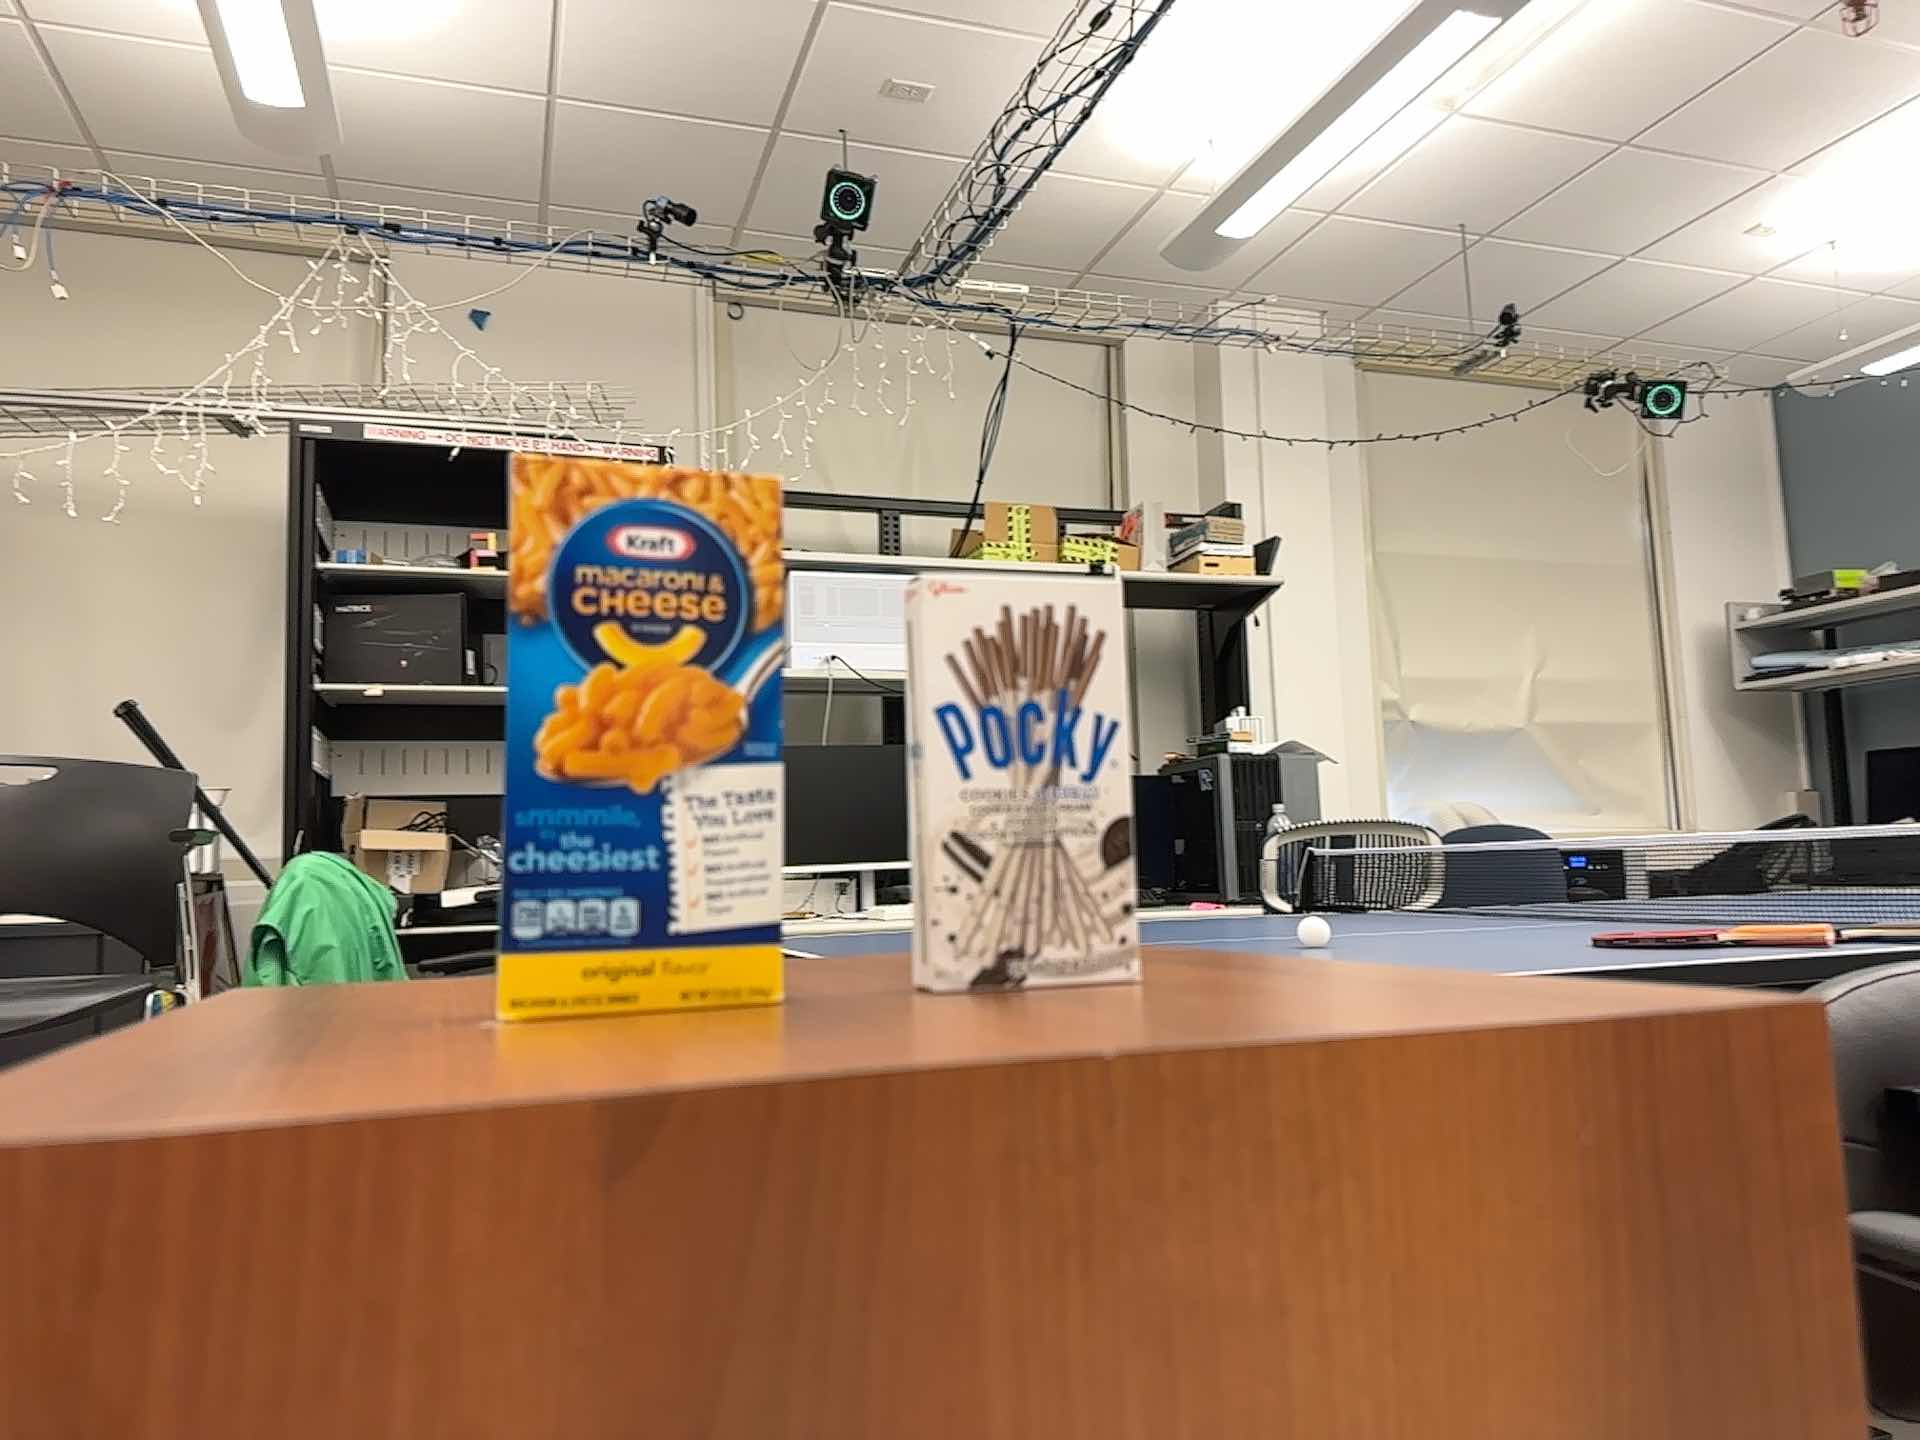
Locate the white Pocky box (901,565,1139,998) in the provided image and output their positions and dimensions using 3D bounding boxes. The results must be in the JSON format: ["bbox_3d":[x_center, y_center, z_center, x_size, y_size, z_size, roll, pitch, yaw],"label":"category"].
[{"bbox_3d":[0.021,0.022,0.491,0.084,0.154,0.028,1,-7,-12],"label":"white Pocky box"}]

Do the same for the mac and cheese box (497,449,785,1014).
[{"bbox_3d":[-0.107,0.004,0.458,0.088,0.181,0.035,0,-8,-15],"label":"mac and cheese box"}]
